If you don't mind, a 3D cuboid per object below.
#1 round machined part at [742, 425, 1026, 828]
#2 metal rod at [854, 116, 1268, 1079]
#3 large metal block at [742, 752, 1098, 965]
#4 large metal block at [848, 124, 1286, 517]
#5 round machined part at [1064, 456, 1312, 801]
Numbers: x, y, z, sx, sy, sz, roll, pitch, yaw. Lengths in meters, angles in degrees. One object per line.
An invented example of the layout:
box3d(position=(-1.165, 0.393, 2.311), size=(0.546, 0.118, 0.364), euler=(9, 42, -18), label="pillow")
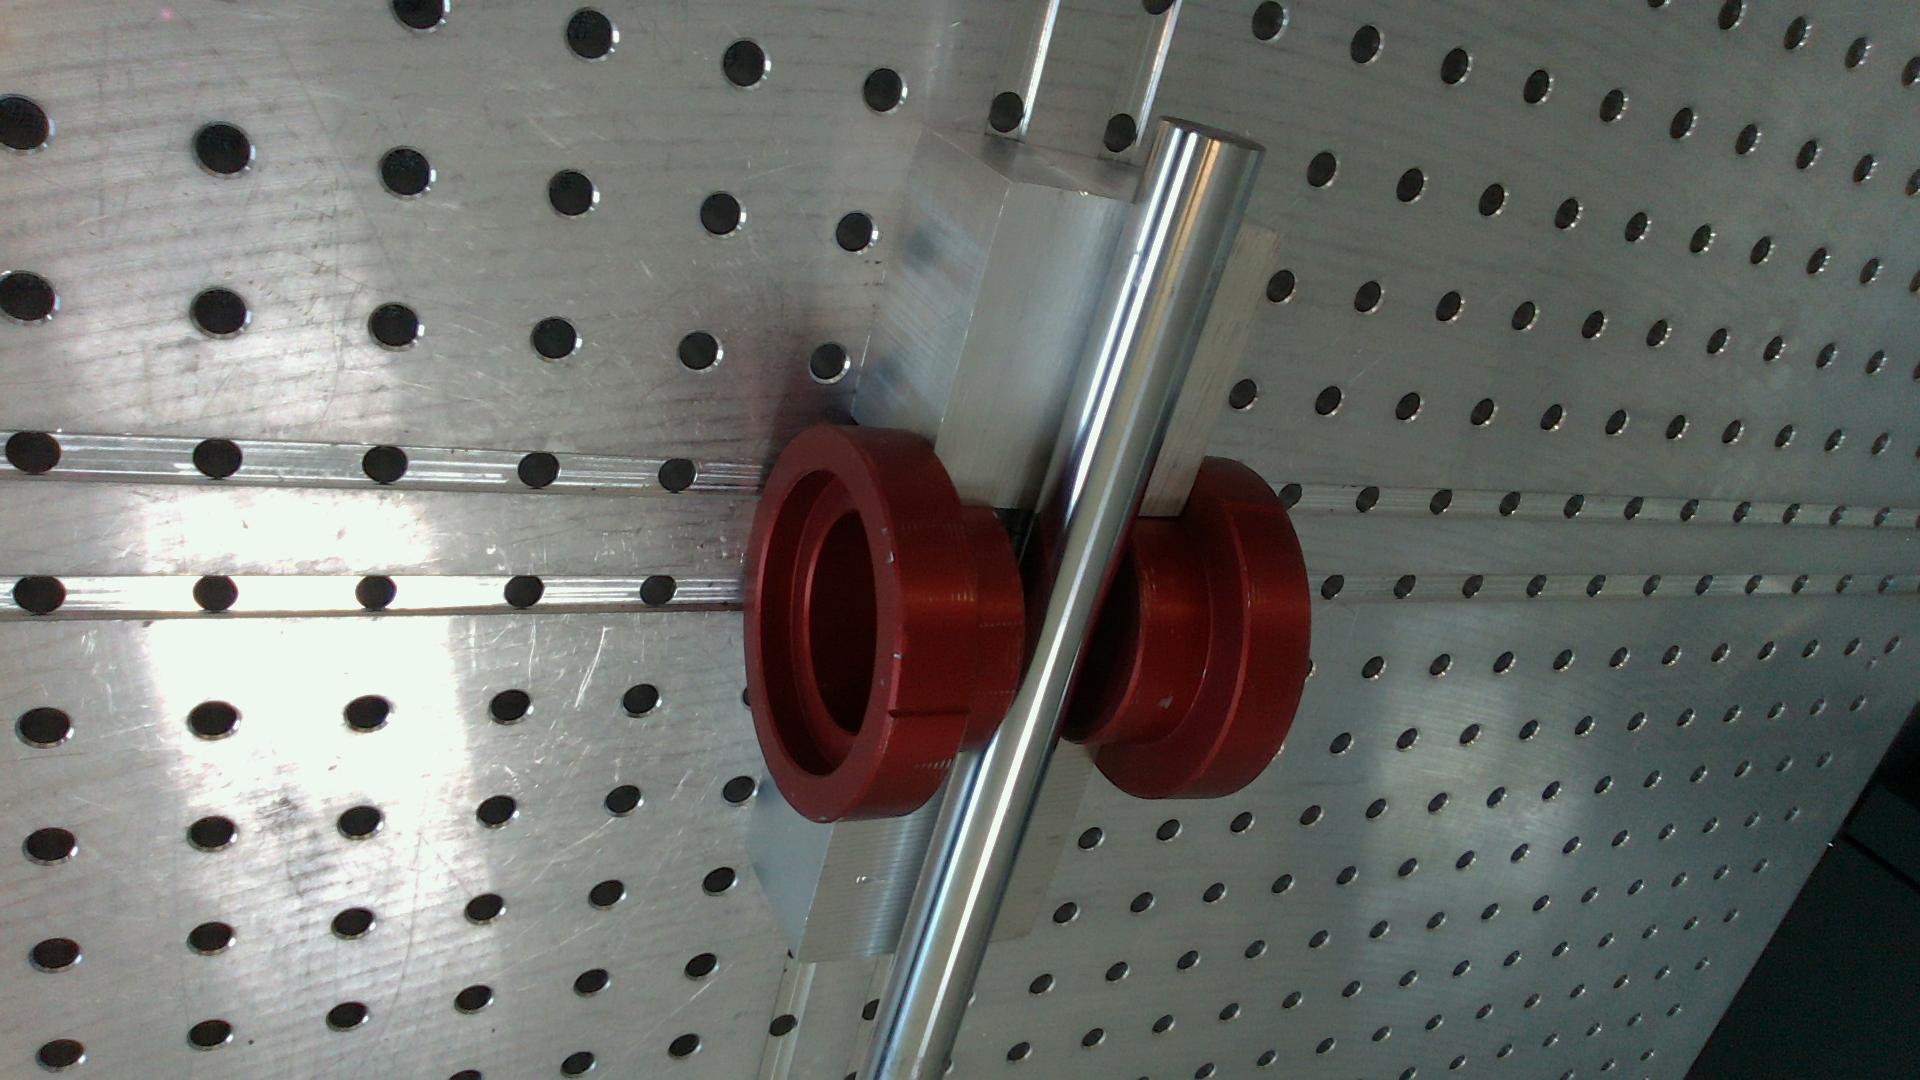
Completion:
box3d(position=(-0.019, 0.021, 0.347), size=(0.042, 0.098, 0.098), euler=(2, 118, -29), label="round machined part")
box3d(position=(0.017, 0.042, 0.362), size=(0.025, 0.025, 0.300), euler=(2, 117, -29), label="metal rod")
box3d(position=(-0.013, 0.076, 0.415), size=(0.080, 0.050, 0.080), euler=(3, 117, -30), label="large metal block")
box3d(position=(0.025, -0.054, 0.356), size=(0.080, 0.050, 0.080), euler=(2, 117, -29), label="large metal block")
box3d(position=(0.051, 0.024, 0.387), size=(0.042, 0.098, 0.098), euler=(4, 117, -25), label="round machined part")
